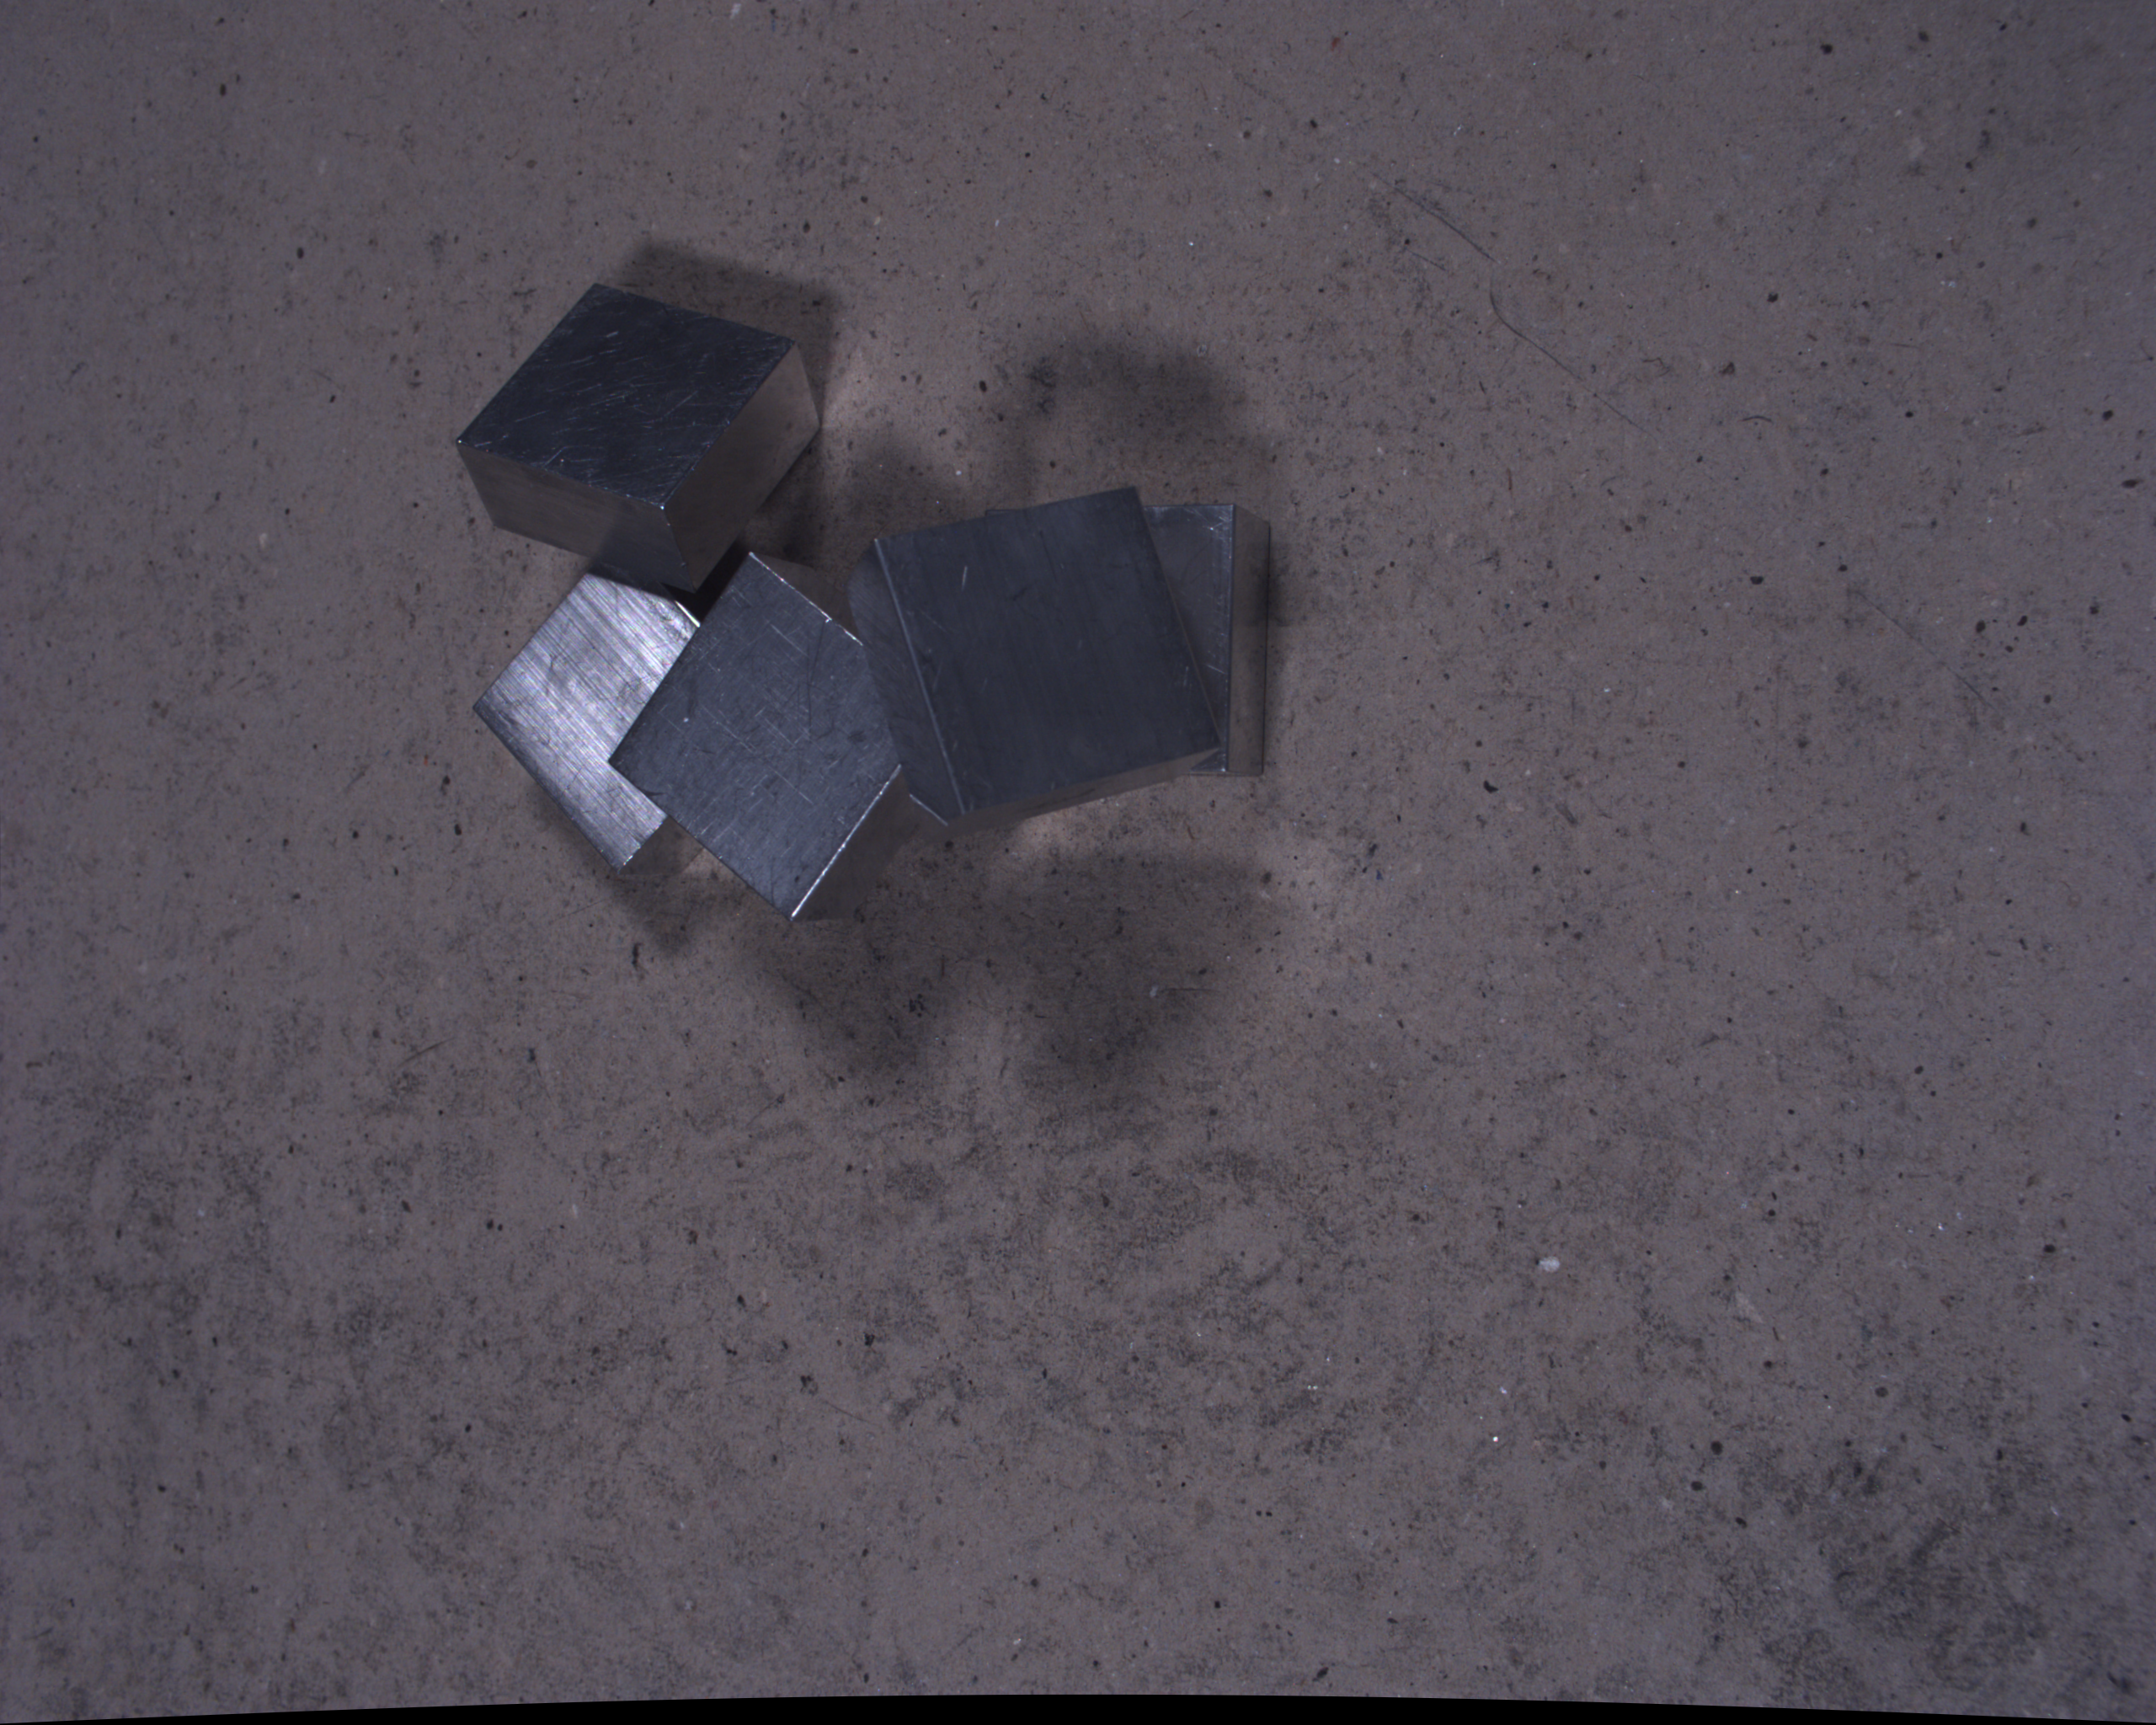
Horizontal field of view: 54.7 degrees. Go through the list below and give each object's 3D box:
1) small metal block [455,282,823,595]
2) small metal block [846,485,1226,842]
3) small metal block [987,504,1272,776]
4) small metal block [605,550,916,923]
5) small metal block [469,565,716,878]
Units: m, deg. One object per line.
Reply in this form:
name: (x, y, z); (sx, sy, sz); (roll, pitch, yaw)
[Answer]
small metal block: (-0.089, -0.088, 0.428); (0.050, 0.025, 0.050); (20, 60, 18)
small metal block: (-0.008, -0.035, 0.372); (0.050, 0.025, 0.050); (-15, 84, -21)
small metal block: (0.009, -0.043, 0.406); (0.050, 0.025, 0.050); (2, 91, 19)
small metal block: (-0.053, -0.024, 0.400); (0.050, 0.025, 0.050); (39, 102, 15)
small metal block: (-0.091, -0.032, 0.441); (0.050, 0.025, 0.050); (-46, 76, 14)
